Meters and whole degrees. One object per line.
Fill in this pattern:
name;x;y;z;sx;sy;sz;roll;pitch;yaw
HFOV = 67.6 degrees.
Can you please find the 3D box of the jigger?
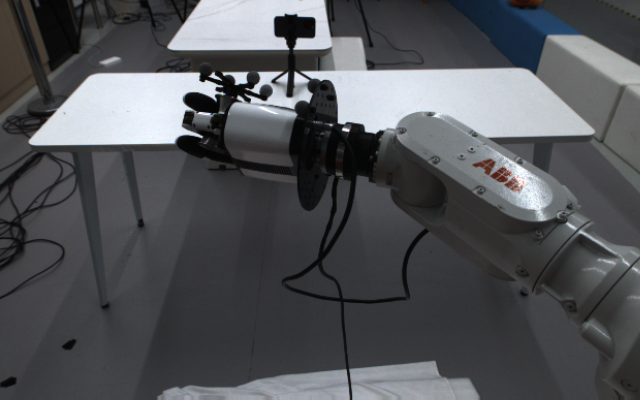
jigger;-0.123;-0.096;0.623;0.043;0.071;0.043;15;-7;2
